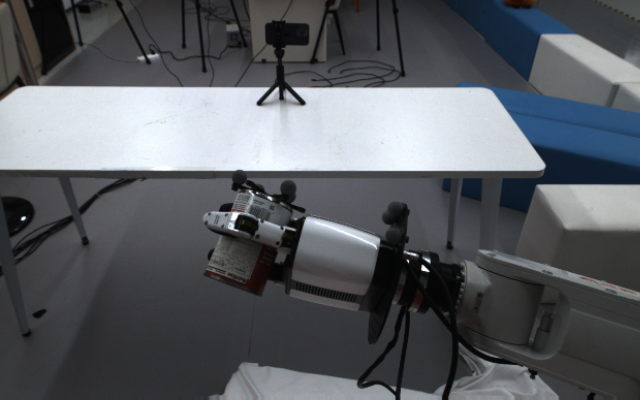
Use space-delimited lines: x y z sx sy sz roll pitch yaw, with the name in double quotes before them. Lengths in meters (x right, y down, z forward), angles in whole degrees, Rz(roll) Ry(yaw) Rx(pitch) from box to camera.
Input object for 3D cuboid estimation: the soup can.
"soup can" -0.076 0.048 0.536 0.067 0.067 0.101 15 75 18
